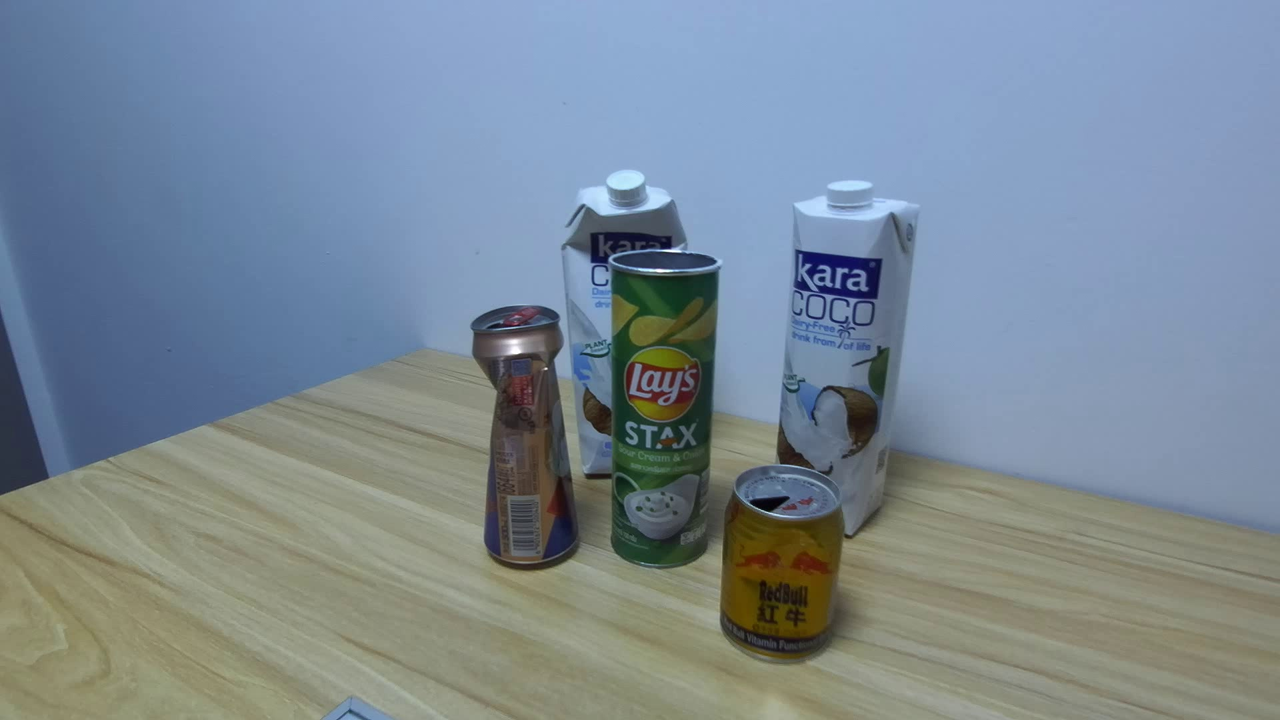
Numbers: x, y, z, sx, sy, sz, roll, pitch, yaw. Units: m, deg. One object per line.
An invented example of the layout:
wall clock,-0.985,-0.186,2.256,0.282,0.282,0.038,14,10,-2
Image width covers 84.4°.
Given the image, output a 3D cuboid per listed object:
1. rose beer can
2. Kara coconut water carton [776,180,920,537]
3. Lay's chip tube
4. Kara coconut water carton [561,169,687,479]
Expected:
rose beer can,-0.078,0.052,0.471,0.065,0.167,0.076,1,19,10
Kara coconut water carton,0.145,-0.002,0.507,0.076,0.245,0.075,13,22,35
Lay's chip tube,0.016,0.032,0.467,0.071,0.202,0.071,0,20,0
Kara coconut water carton,-0.008,-0.032,0.585,0.099,0.244,0.071,-3,22,-2
